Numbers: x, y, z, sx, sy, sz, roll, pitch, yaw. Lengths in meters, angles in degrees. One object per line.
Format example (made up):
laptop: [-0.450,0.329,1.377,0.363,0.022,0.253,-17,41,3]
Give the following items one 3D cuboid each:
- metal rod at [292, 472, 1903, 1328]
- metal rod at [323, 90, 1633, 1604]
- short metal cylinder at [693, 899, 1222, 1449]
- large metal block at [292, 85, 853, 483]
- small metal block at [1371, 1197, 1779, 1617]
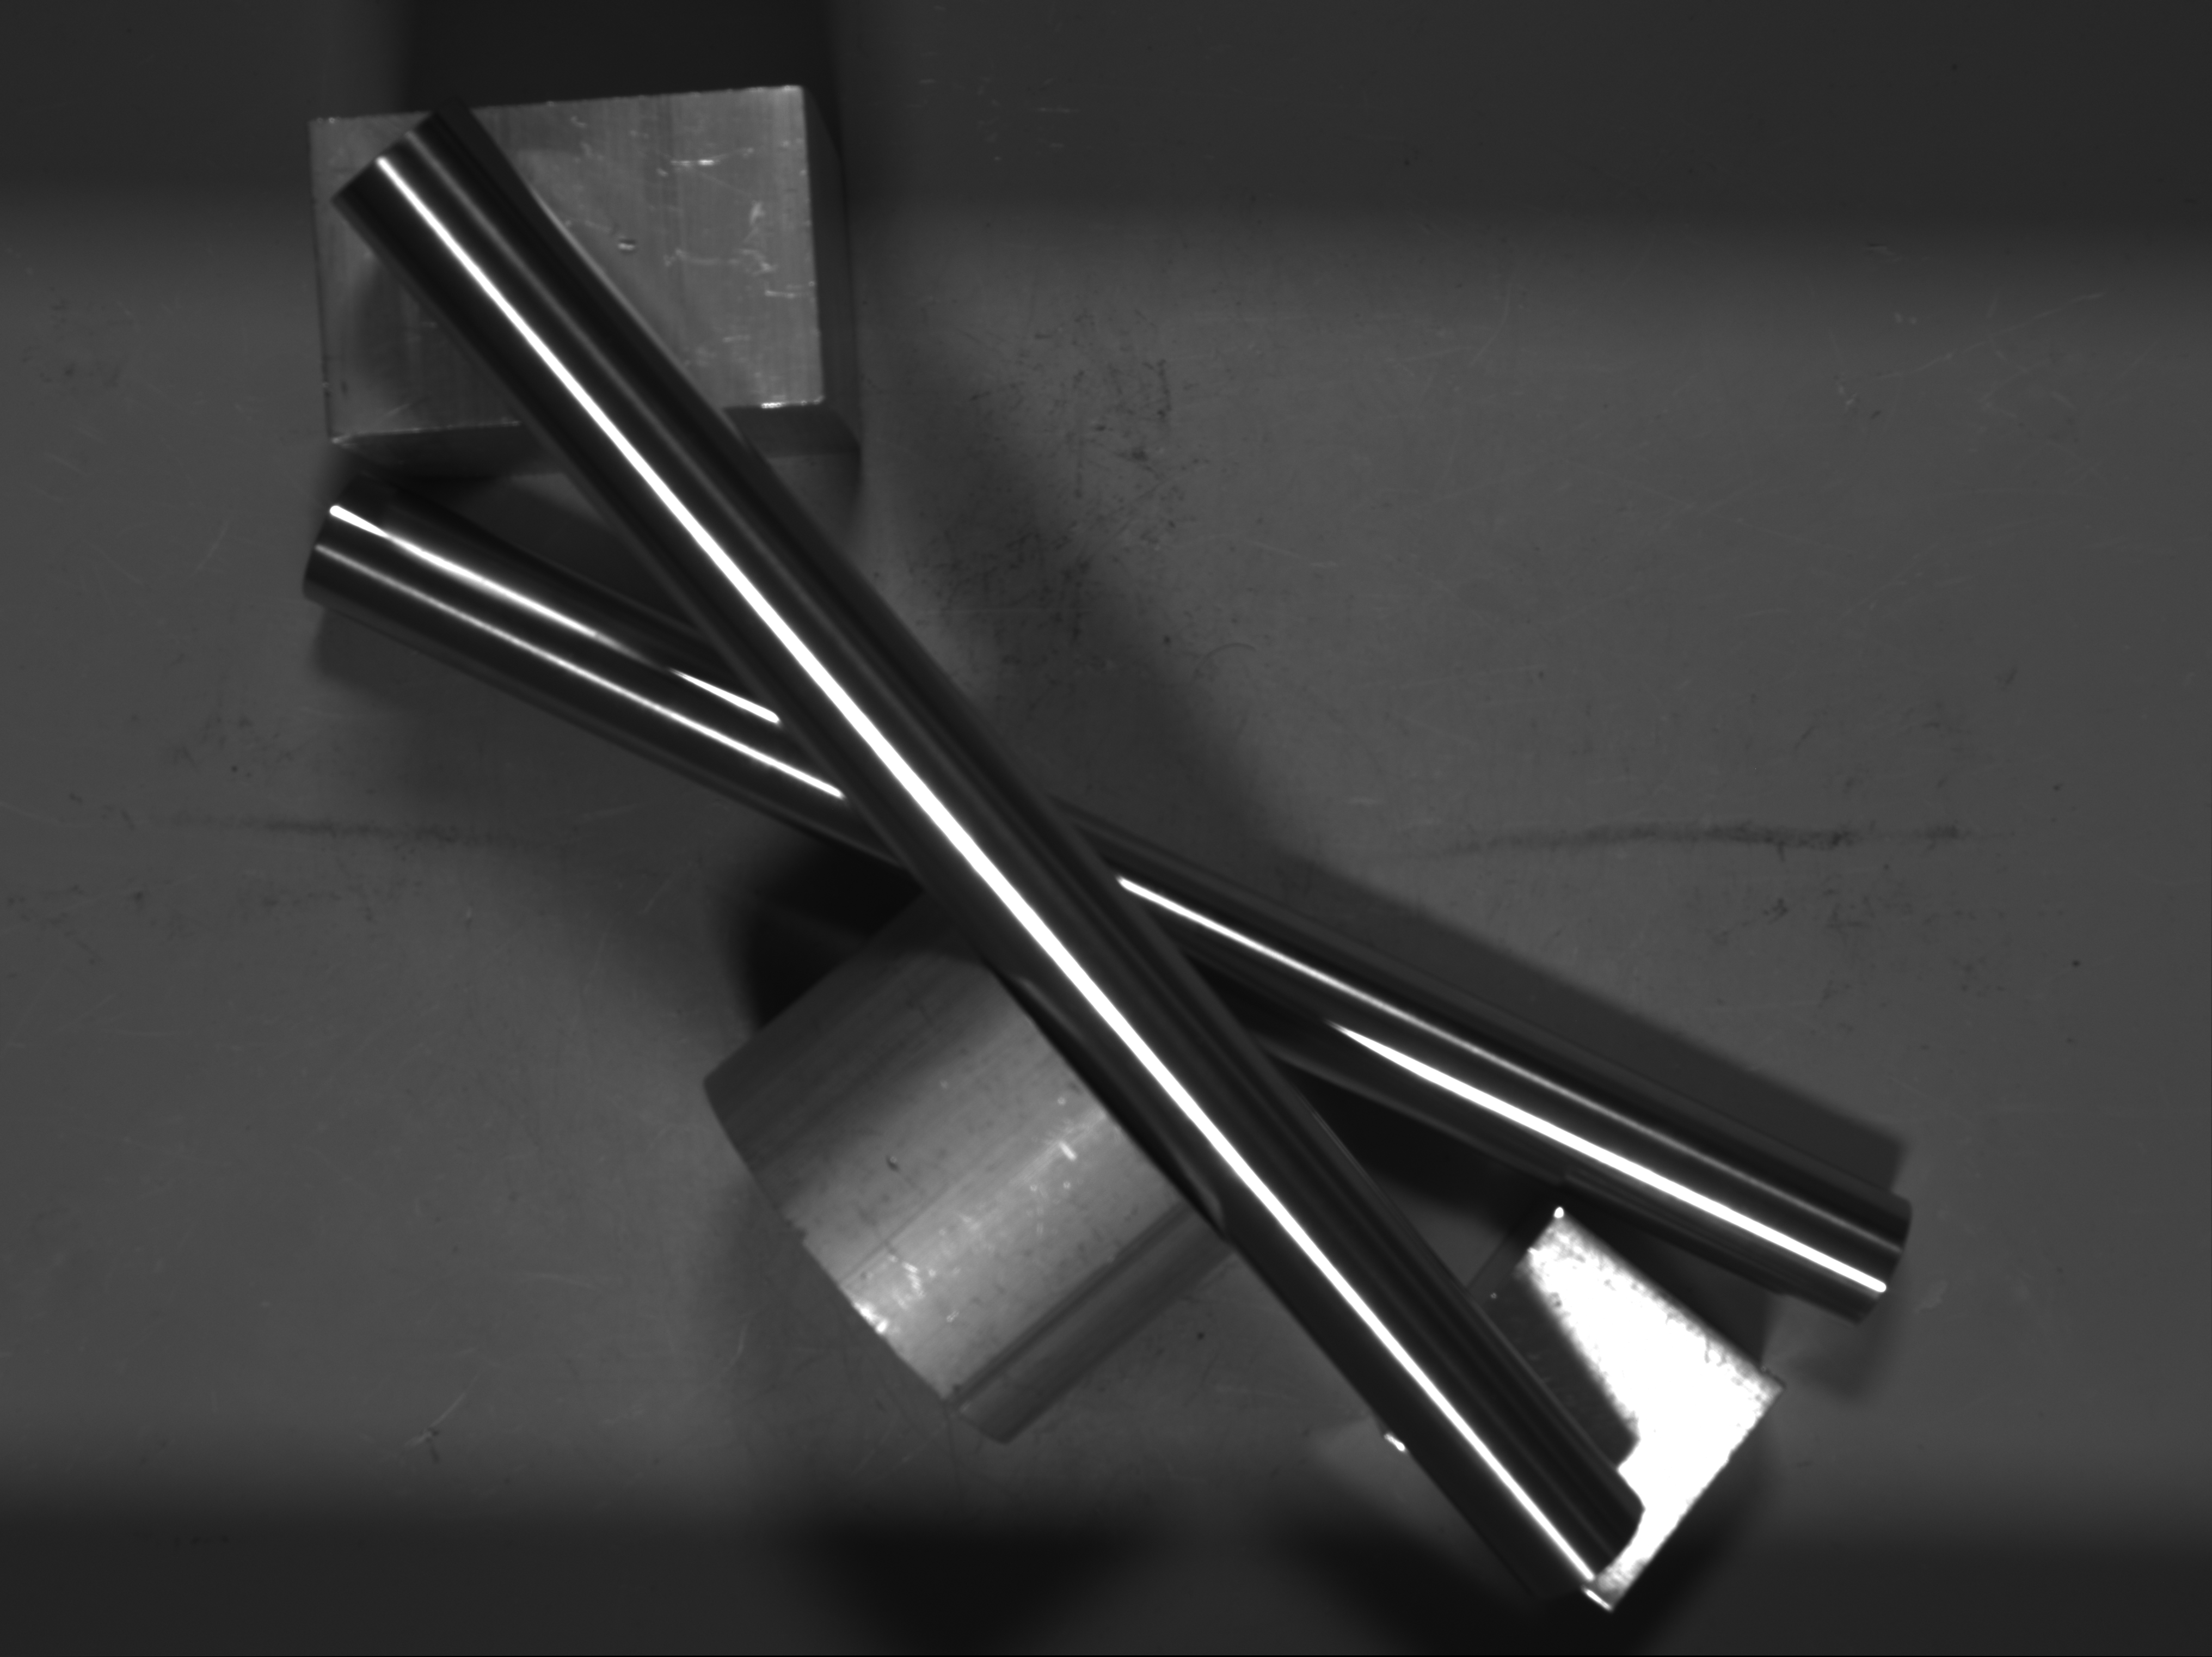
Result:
metal rod: [-0.001,0.013,0.644,0.300,0.025,0.025,25,90,0]
metal rod: [-0.015,0.009,0.586,0.025,0.025,0.300,-40,103,0]
short metal cylinder: [-0.024,0.057,0.615,0.050,0.080,0.080,-40,90,0]
large metal block: [-0.087,-0.090,0.617,0.080,0.080,0.050,-4,90,0]
small metal block: [0.081,0.101,0.645,0.050,0.025,0.050,38,90,0]
